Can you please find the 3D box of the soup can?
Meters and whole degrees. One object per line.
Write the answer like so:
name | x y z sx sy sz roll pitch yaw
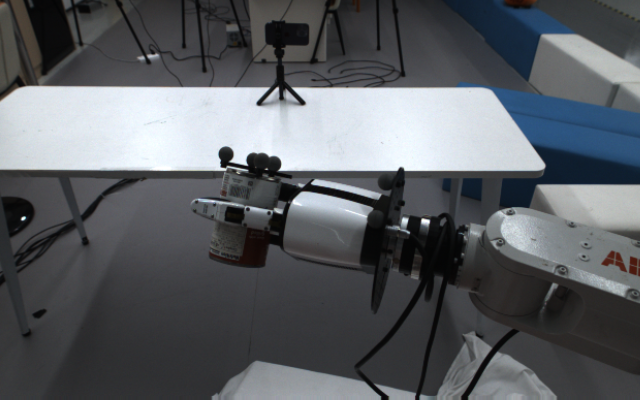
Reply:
soup can | -0.084 0.020 0.553 0.067 0.101 0.067 11 3 0
